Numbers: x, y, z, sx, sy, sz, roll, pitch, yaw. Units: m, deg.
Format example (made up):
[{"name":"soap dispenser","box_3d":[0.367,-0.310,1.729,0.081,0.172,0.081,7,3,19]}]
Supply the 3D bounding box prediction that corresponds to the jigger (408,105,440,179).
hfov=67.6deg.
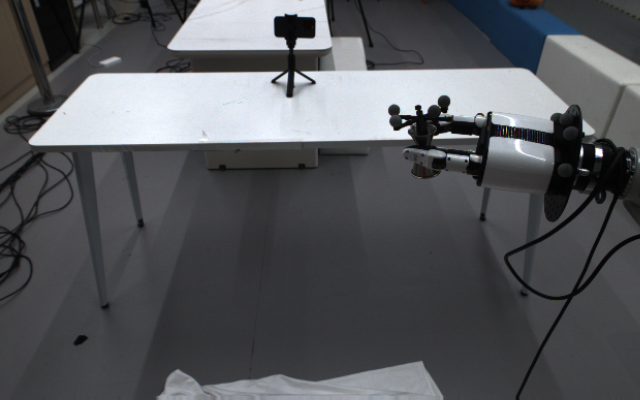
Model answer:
[{"name":"jigger","box_3d":[0.150,-0.071,0.698,0.043,0.071,0.043,-10,32,6]}]
